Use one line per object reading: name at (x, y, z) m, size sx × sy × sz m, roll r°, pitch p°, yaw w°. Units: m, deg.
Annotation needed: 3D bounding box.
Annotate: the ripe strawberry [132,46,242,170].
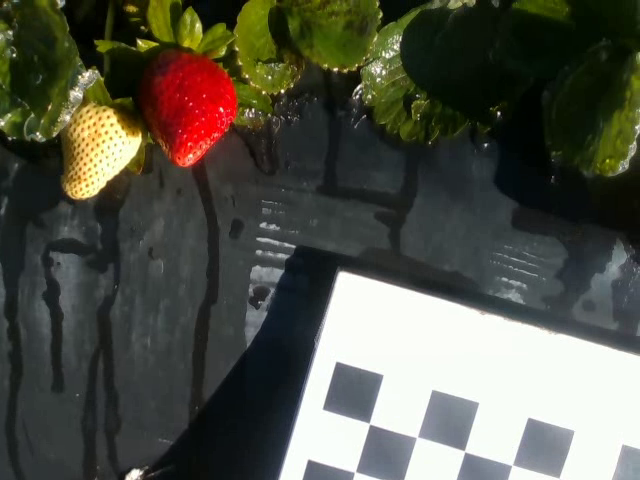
ripe strawberry at (-0.055, -0.049, 0.270) m, size 0.042 × 0.061 × 0.046 m, roll 1°, pitch -35°, yaw 0°
